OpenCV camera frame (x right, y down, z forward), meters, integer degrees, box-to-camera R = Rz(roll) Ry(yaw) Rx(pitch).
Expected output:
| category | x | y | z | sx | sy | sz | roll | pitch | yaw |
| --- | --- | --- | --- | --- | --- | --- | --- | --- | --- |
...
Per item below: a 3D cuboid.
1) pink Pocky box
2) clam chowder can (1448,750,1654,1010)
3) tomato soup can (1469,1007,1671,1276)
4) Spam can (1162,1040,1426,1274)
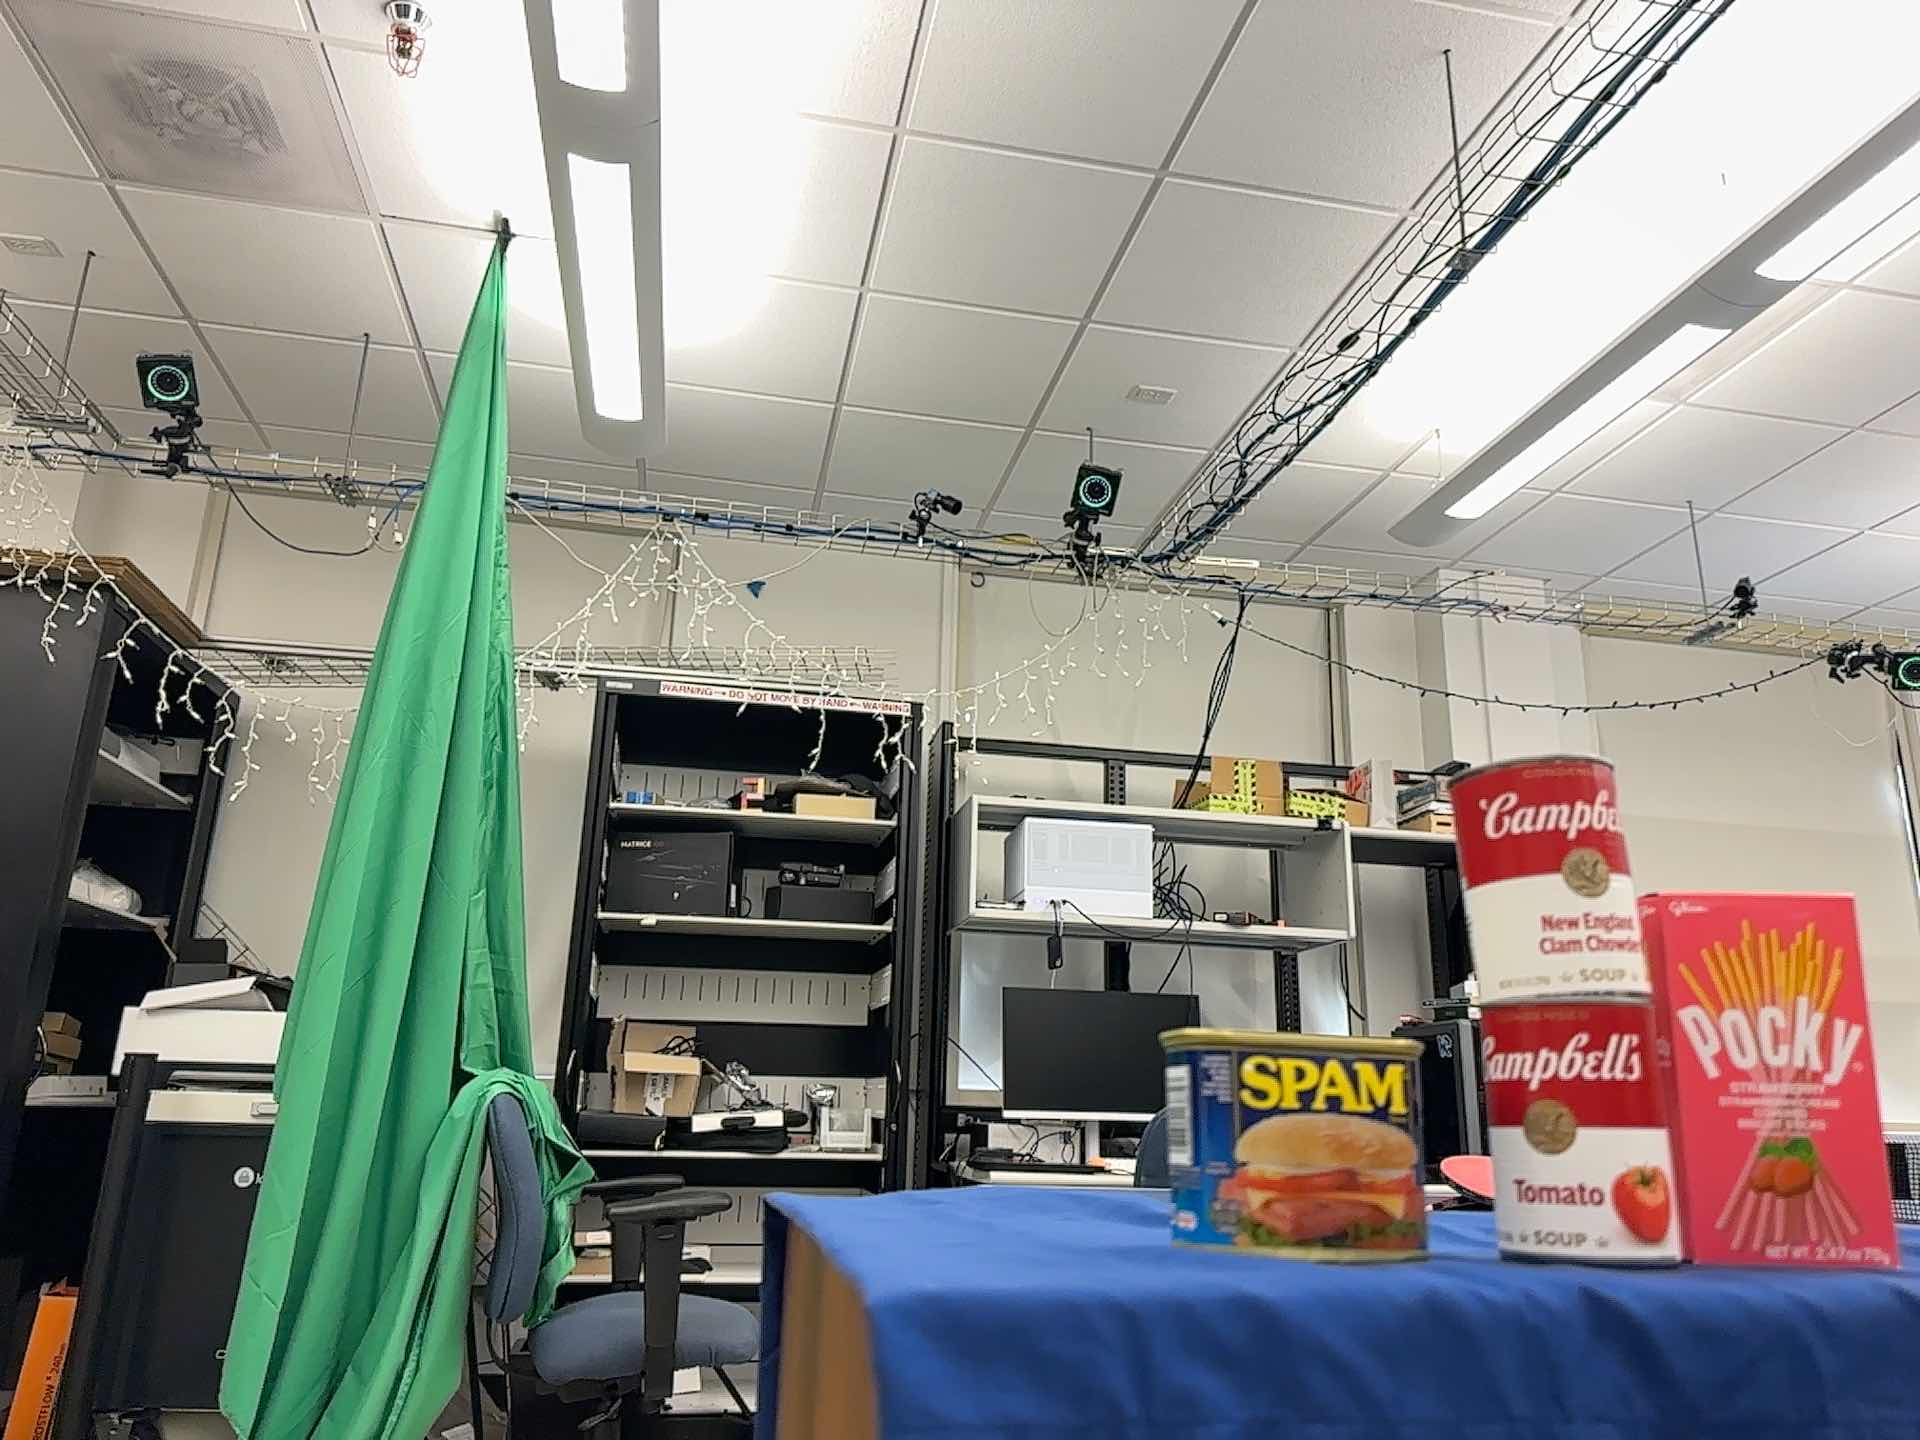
| category | x | y | z | sx | sy | sz | roll | pitch | yaw |
| --- | --- | --- | --- | --- | --- | --- | --- | --- | --- |
| pink Pocky box | 0.333 | 0.150 | 0.558 | 0.084 | 0.154 | 0.029 | 0 | -12 | 1 |
| clam chowder can | 0.251 | 0.071 | 0.577 | 0.068 | 0.102 | 0.068 | -1 | -18 | -1 |
| tomato soup can | 0.250 | 0.172 | 0.557 | 0.067 | 0.102 | 0.067 | 1 | -15 | 0 |
| Spam can | 0.135 | 0.175 | 0.546 | 0.100 | 0.083 | 0.056 | 5 | -15 | -11 |
